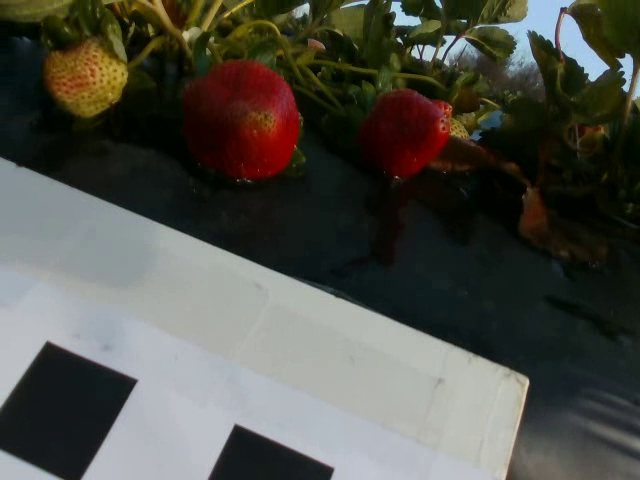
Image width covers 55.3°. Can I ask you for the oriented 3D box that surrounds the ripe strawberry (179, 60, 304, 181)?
[{"bbox_3d":[-0.029,-0.048,0.226,0.050,0.050,0.065,-14,8,-10],"label":"ripe strawberry"}]

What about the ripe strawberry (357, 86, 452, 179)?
[{"bbox_3d":[0.040,-0.048,0.277,0.044,0.042,0.055,-36,19,-21],"label":"ripe strawberry"}]
